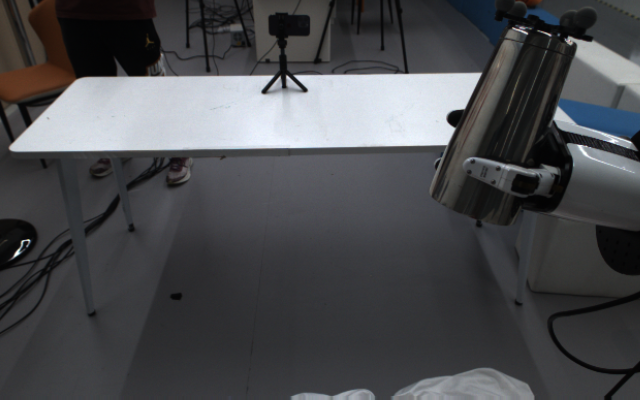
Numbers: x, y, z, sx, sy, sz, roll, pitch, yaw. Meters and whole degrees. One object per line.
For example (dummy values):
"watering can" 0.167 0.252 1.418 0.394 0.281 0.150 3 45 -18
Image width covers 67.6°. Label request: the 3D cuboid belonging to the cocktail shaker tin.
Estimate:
"cocktail shaker tin" 0.180 -0.071 0.469 0.093 0.170 0.093 14 20 -5
